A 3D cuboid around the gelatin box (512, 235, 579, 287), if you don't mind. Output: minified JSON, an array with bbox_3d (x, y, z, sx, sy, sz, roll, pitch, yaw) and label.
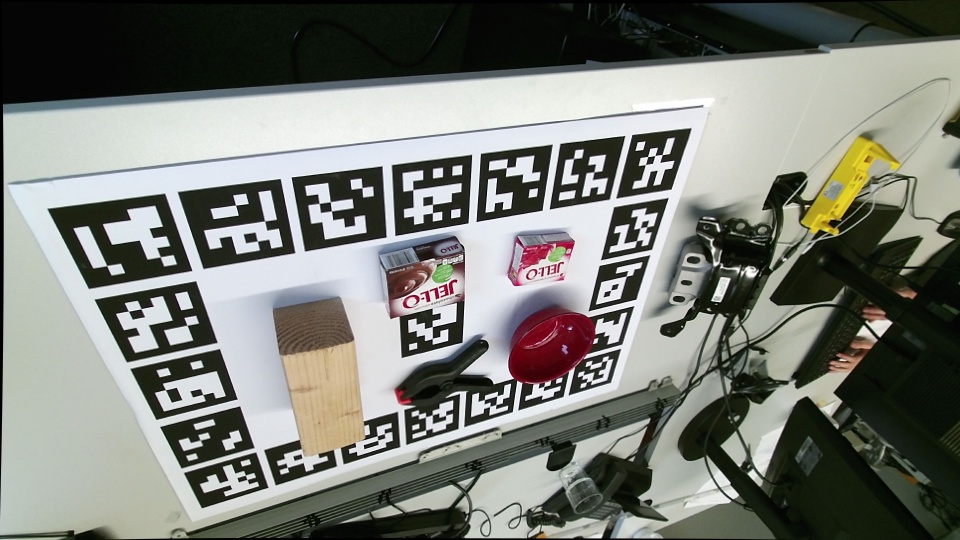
[{"bbox_3d":[0.099,-0.013,0.807,0.090,0.030,0.073,-4,124,-25],"label":"gelatin box"}]

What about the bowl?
[{"bbox_3d":[0.115,0.124,0.912,0.162,0.055,0.161,-12,126,-18],"label":"bowl"}]

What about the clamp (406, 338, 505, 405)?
[{"bbox_3d":[-0.041,0.181,0.889,0.165,0.036,0.122,-19,131,-11],"label":"clamp"}]

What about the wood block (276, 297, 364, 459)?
[{"bbox_3d":[-0.215,0.150,0.728,0.090,0.090,0.206,-9,127,-21],"label":"wood block"}]

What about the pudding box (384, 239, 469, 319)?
[{"bbox_3d":[-0.072,0.012,0.734,0.114,0.038,0.090,-13,125,-21],"label":"pudding box"}]
